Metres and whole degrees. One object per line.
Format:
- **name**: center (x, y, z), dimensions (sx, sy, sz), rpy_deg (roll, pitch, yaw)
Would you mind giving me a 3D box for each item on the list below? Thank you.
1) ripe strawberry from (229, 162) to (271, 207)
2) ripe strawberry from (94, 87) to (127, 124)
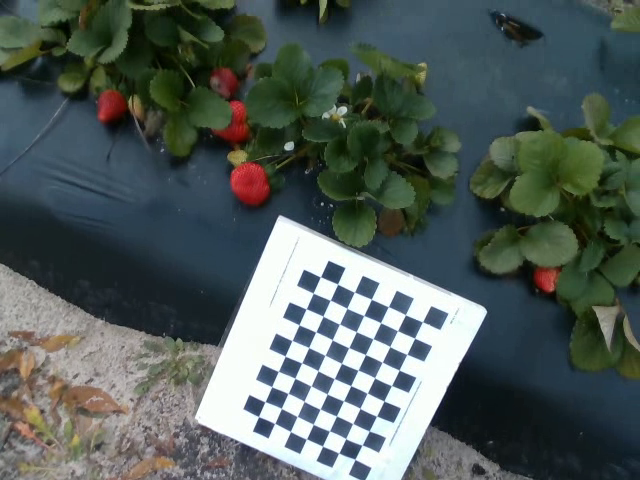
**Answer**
- **ripe strawberry**: center (-0.094, -0.068, 0.789), dimensions (0.057, 0.056, 0.064), rpy_deg (-12, 11, 26)
- **ripe strawberry**: center (-0.268, -0.165, 0.800), dimensions (0.043, 0.052, 0.041), rpy_deg (6, -34, 9)
